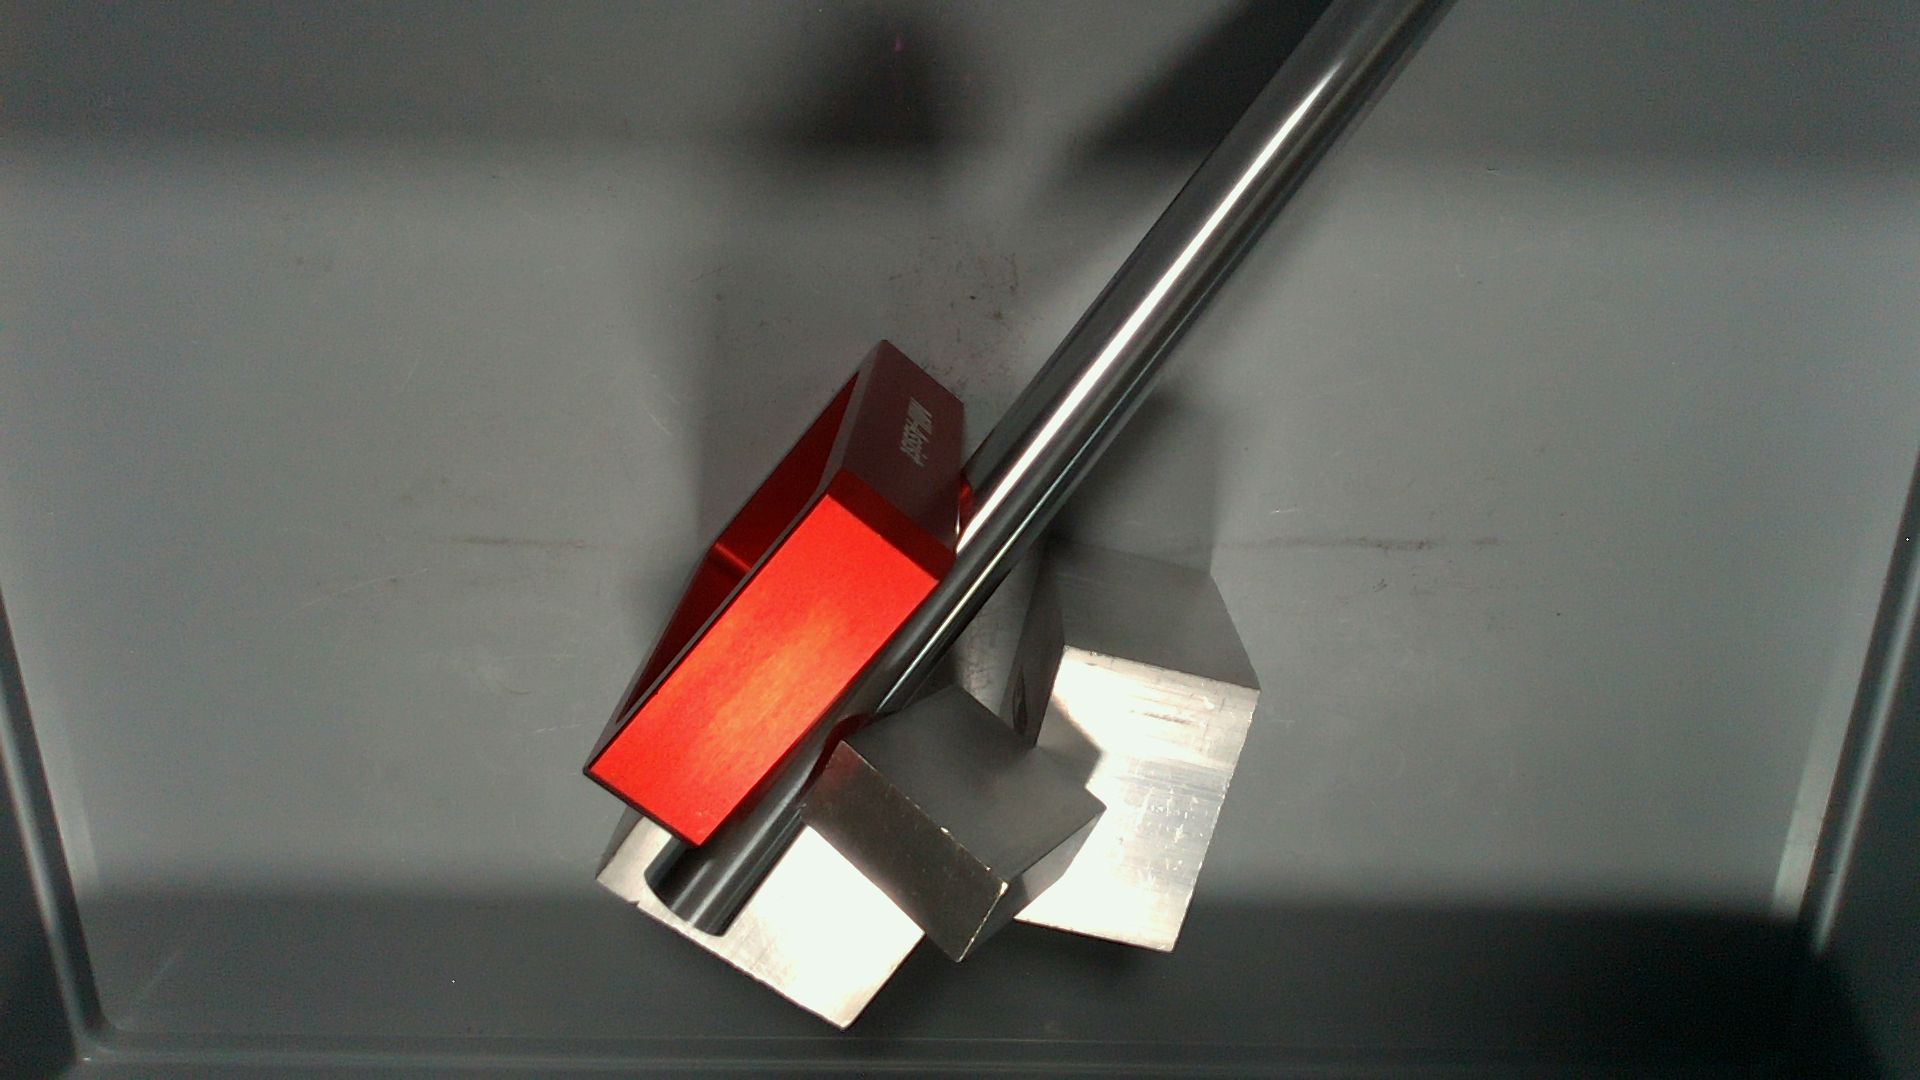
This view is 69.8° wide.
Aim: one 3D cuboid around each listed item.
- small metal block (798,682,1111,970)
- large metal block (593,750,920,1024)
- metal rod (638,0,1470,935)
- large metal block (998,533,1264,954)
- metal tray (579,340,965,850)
[{"bbox_3d":[0.000,0.065,0.325,0.050,0.050,0.025,38,118,20],"label":"small metal block"},{"bbox_3d":[-0.047,0.075,0.393,0.080,0.080,0.050,35,107,-12],"label":"large metal block"},{"bbox_3d":[0.027,-0.031,0.334,0.025,0.025,0.300,39,88,-13],"label":"metal rod"},{"bbox_3d":[0.041,0.053,0.385,0.050,0.080,0.080,13,110,-5],"label":"large metal block"},{"bbox_3d":[-0.039,0.006,0.338,0.030,0.130,0.090,39,107,-12],"label":"metal tray"}]
